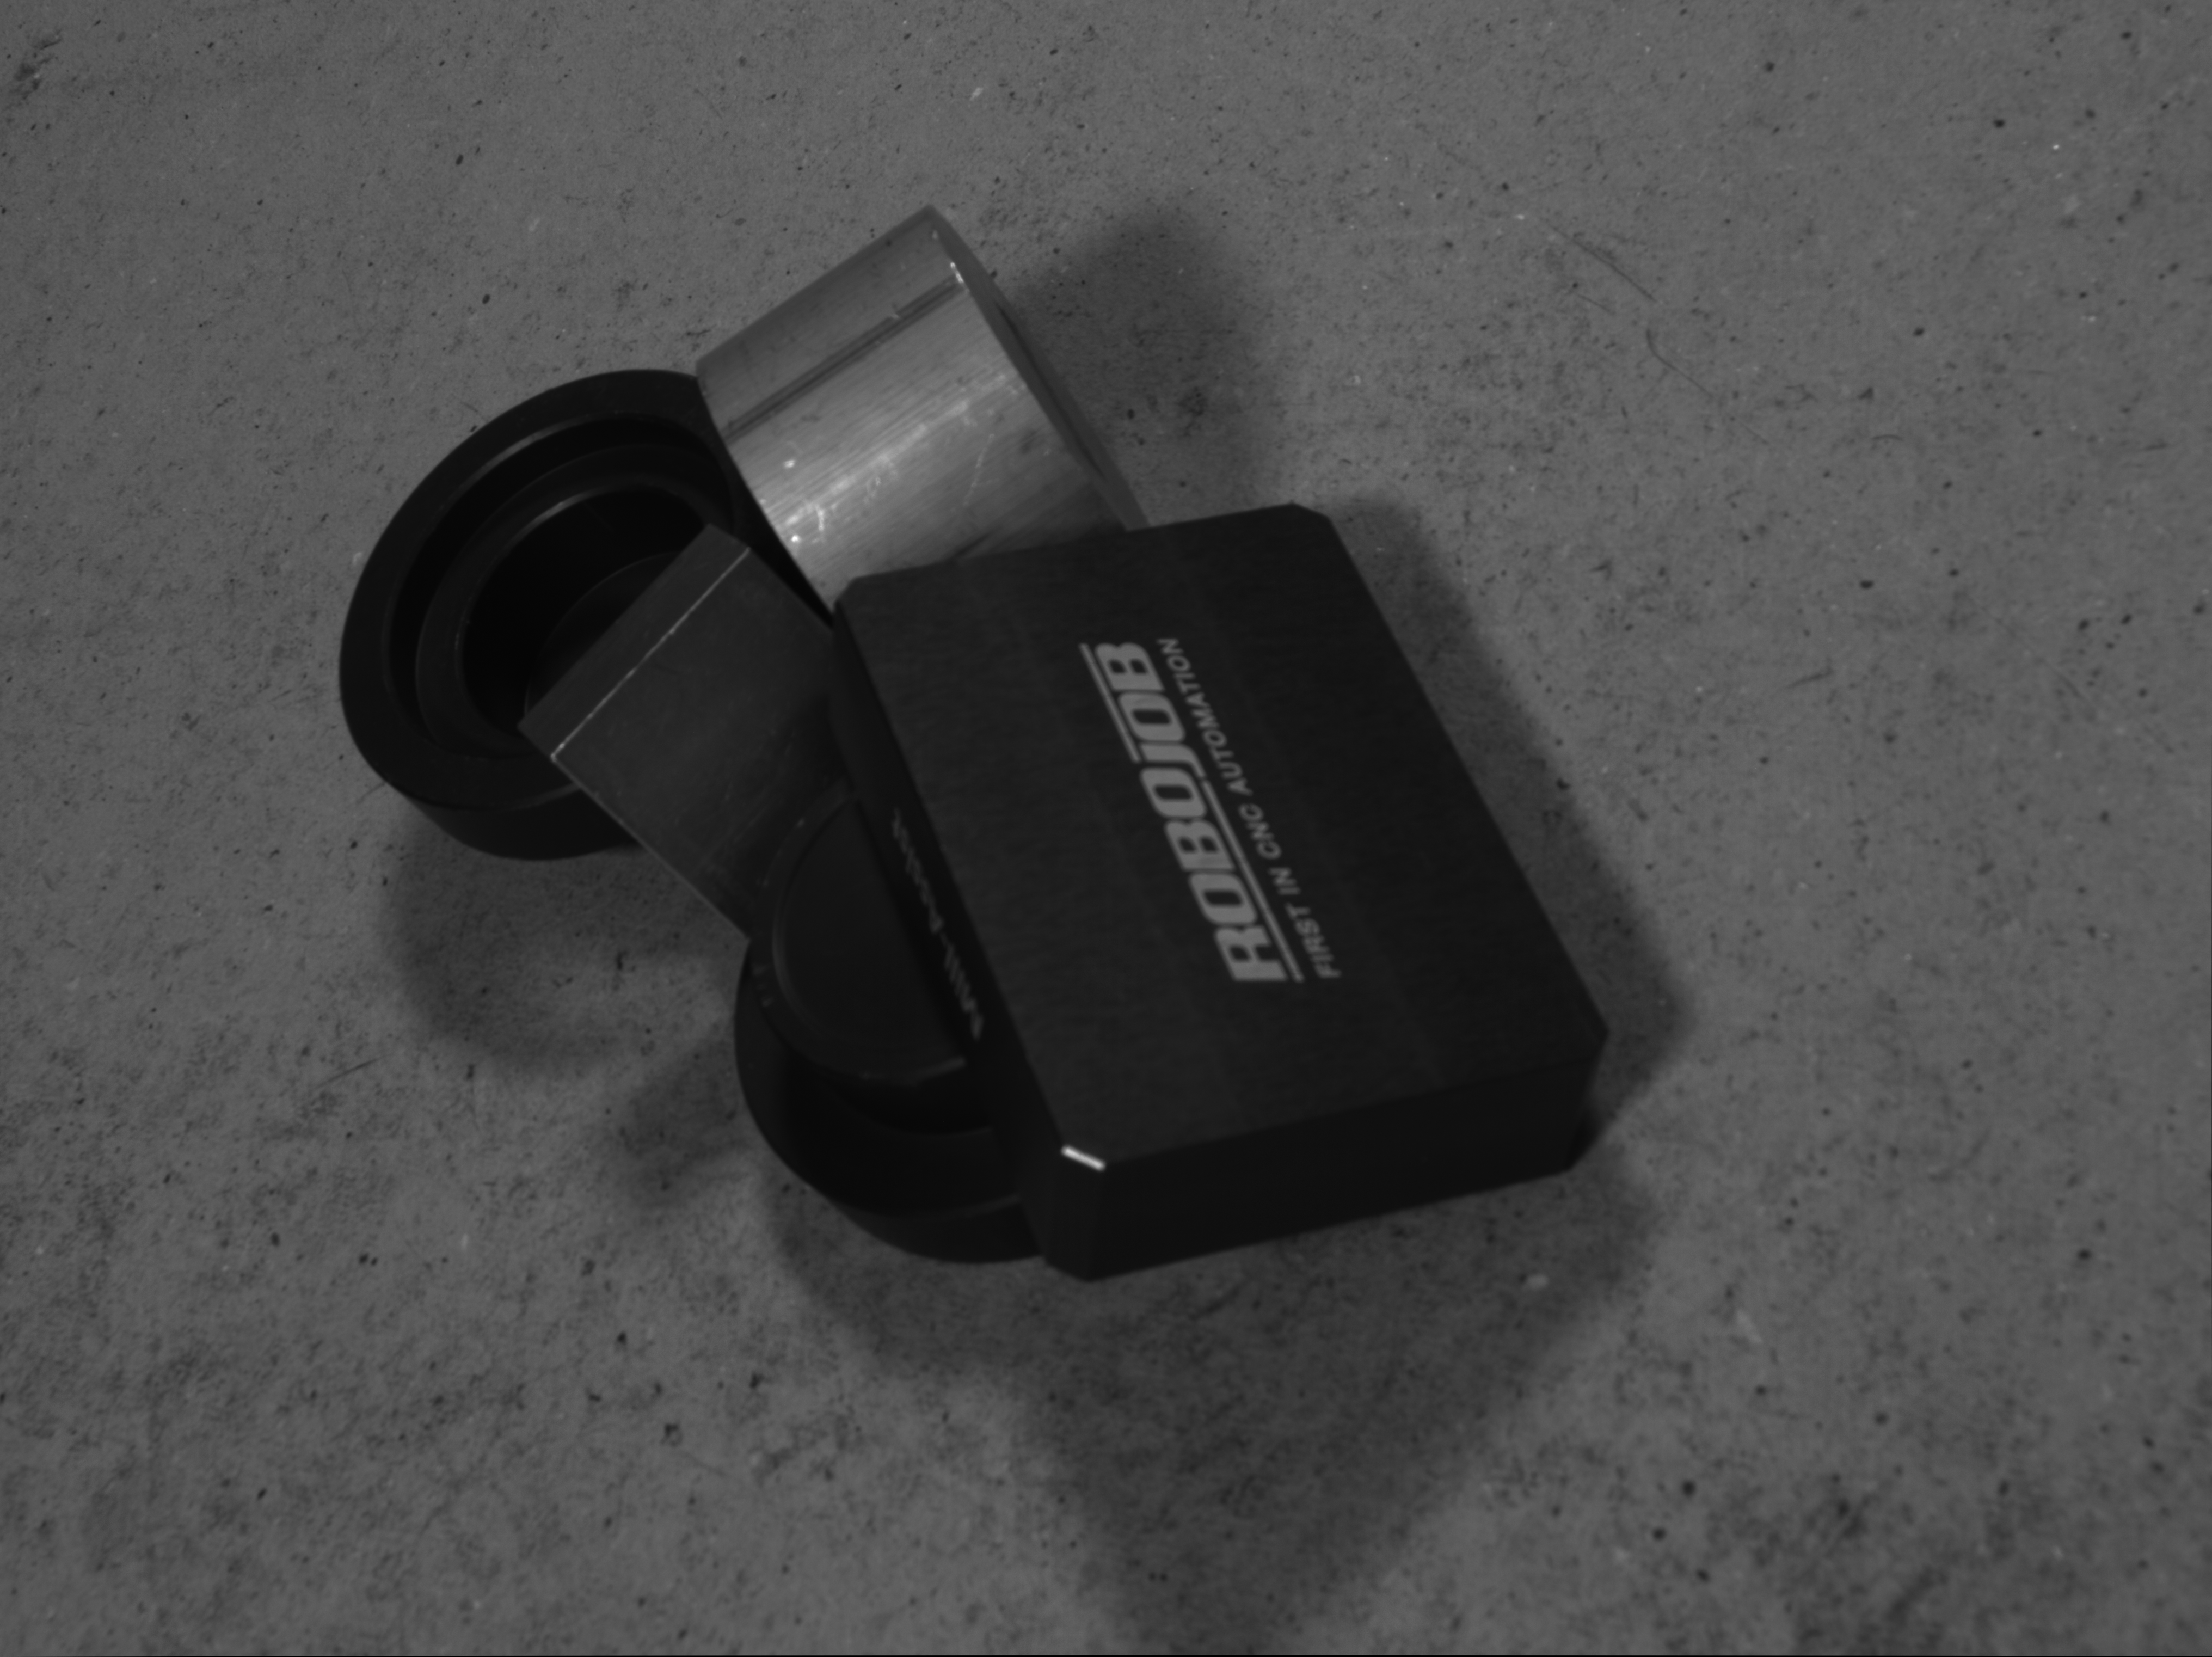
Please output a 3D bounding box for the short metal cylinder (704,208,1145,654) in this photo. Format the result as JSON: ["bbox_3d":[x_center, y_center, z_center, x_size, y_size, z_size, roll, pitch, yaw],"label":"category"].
[{"bbox_3d":[-0.029,-0.066,0.666,0.050,0.080,0.080,-33,51,7],"label":"short metal cylinder"}]

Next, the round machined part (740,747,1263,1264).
[{"bbox_3d":[-0.021,0.022,0.631,0.098,0.042,0.098,-13,56,21],"label":"round machined part"}]

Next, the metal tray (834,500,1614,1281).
[{"bbox_3d":[0.016,0.006,0.601,0.090,0.030,0.130,-11,50,-16],"label":"metal tray"}]

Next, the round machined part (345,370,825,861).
[{"bbox_3d":[-0.094,-0.036,0.707,0.098,0.042,0.098,-13,56,21],"label":"round machined part"}]

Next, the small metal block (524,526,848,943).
[{"bbox_3d":[-0.066,-0.017,0.651,0.050,0.050,0.025,-47,26,-5],"label":"small metal block"}]
